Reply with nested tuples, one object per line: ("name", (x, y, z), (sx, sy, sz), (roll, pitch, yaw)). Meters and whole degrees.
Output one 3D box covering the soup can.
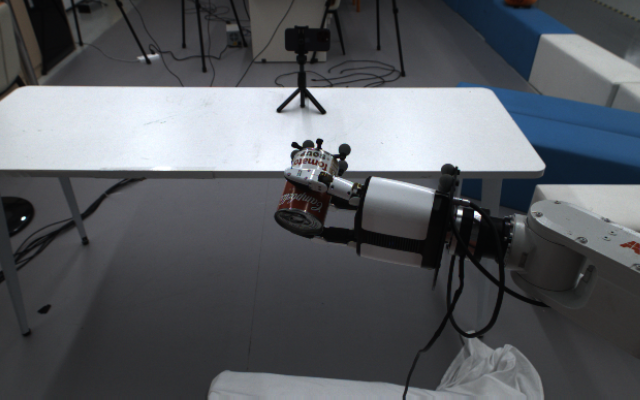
("soup can", (-0.015, -0.013, 0.660), (0.067, 0.067, 0.101), (9, 60, 10))
